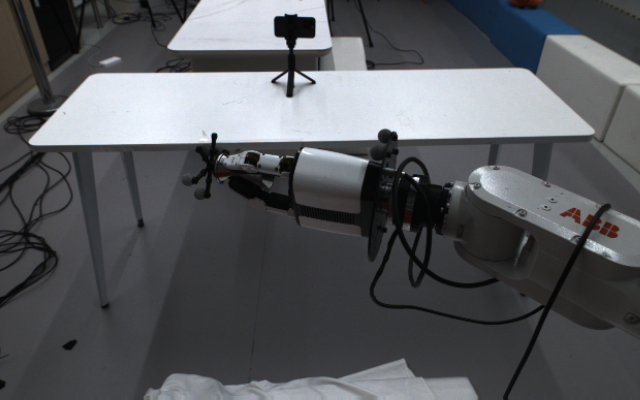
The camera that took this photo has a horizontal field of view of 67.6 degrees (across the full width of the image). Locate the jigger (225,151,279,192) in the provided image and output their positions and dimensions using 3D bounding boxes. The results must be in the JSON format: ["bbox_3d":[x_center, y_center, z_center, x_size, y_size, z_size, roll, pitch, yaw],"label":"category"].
[{"bbox_3d":[-0.096,-0.043,0.635,0.071,0.043,0.043,9,35,16],"label":"jigger"}]
